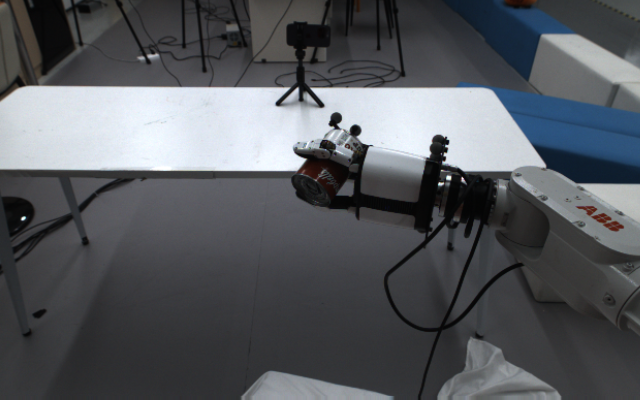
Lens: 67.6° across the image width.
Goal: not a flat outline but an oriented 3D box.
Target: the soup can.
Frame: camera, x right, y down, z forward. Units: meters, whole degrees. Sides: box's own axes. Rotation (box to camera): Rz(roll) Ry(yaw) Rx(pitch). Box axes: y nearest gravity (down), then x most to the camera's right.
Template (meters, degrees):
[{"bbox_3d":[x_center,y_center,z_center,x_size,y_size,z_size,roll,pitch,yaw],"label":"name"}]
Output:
[{"bbox_3d":[0.014,-0.050,0.714,0.067,0.067,0.101,22,60,26],"label":"soup can"}]
